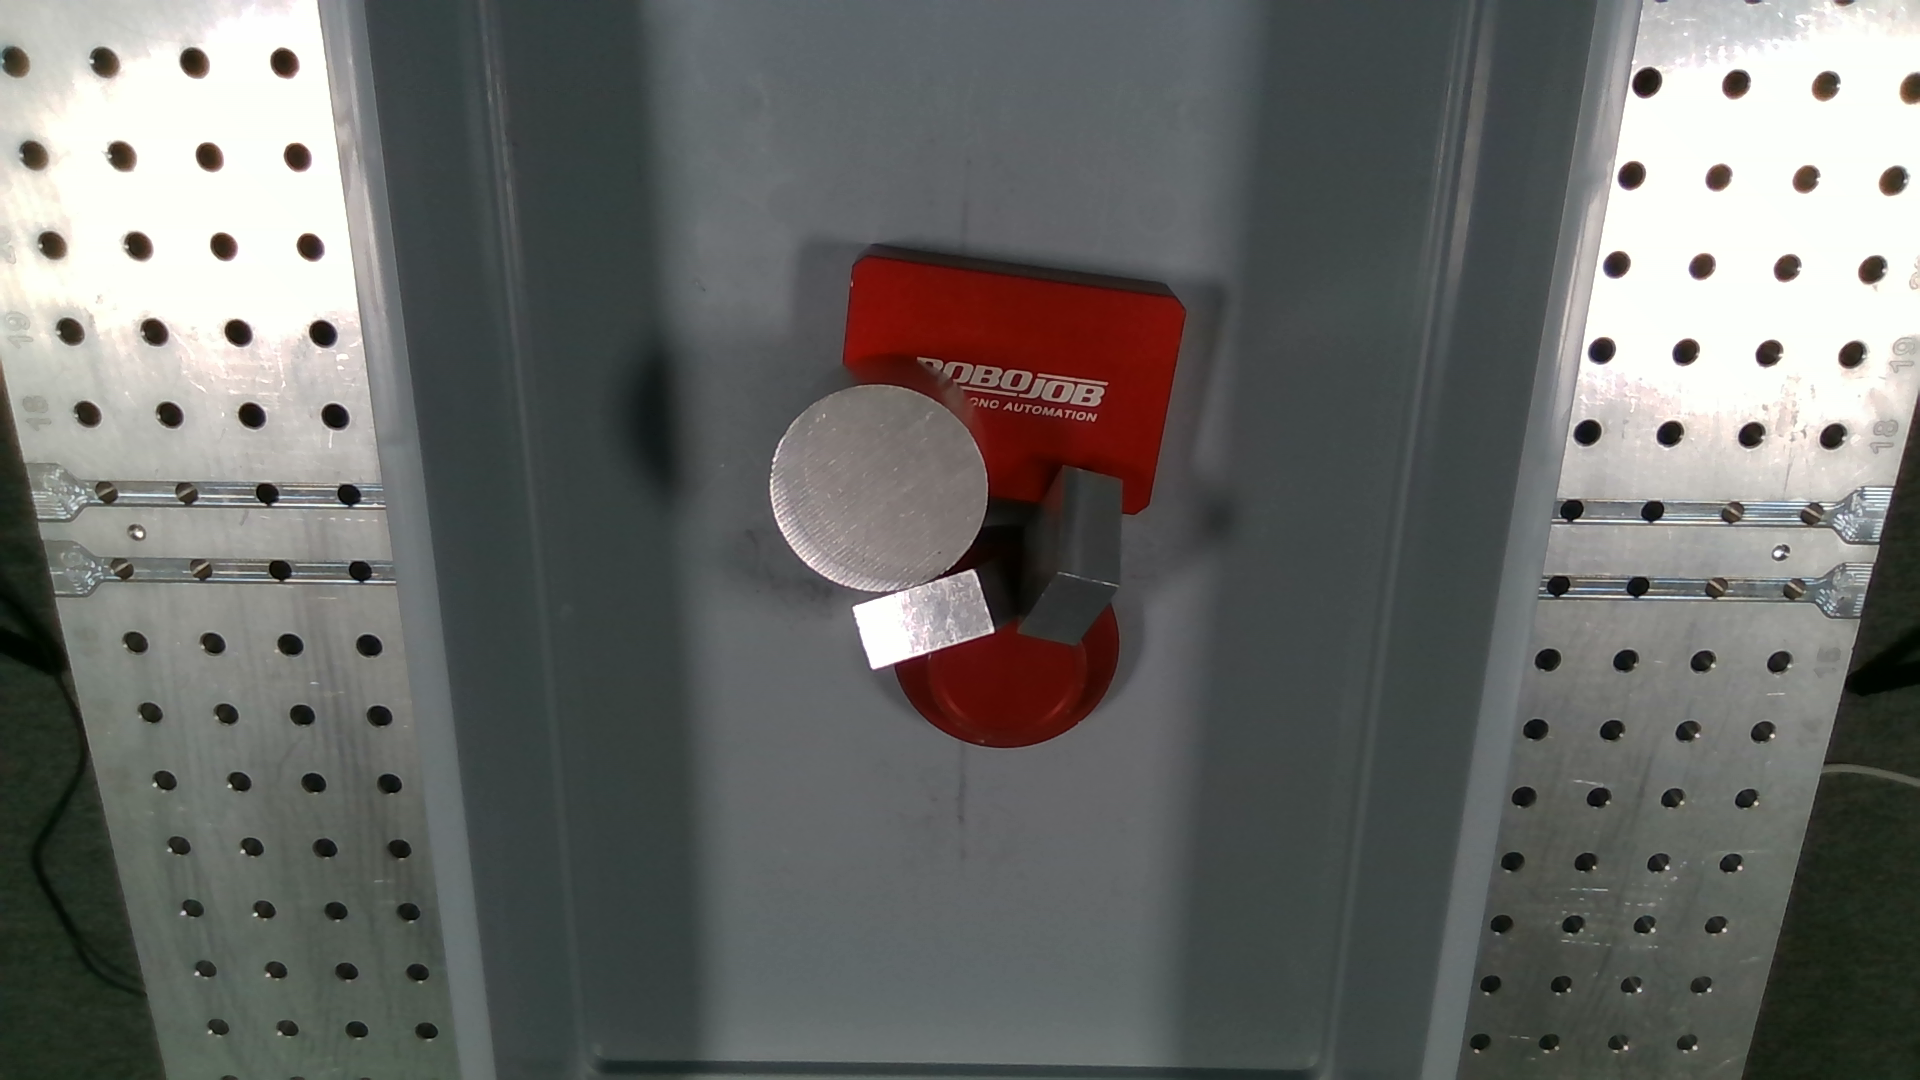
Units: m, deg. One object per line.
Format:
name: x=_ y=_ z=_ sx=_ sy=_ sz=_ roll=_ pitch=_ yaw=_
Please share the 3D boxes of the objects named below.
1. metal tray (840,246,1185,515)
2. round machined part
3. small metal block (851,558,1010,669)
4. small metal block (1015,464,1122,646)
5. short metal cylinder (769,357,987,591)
metal tray: x=0.017 y=-0.065 z=0.555 sx=0.130 sy=0.030 sz=0.090 roll=7 pitch=110 yaw=-3
round machined part: x=0.019 y=0.047 z=0.591 sx=0.098 sy=0.042 sz=0.098 roll=0 pitch=110 yaw=0
small metal block: x=-0.009 y=0.028 z=0.539 sx=0.050 sy=0.050 sz=0.025 roll=-18 pitch=90 yaw=13
small metal block: x=0.043 y=0.006 z=0.545 sx=0.025 sy=0.050 sz=0.050 roll=13 pitch=146 yaw=-10
short metal cylinder: x=-0.030 y=-0.027 z=0.528 sx=0.080 sy=0.050 sz=0.080 roll=0 pitch=110 yaw=0
